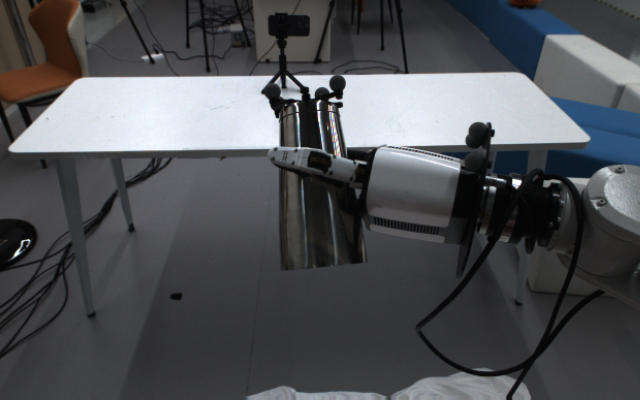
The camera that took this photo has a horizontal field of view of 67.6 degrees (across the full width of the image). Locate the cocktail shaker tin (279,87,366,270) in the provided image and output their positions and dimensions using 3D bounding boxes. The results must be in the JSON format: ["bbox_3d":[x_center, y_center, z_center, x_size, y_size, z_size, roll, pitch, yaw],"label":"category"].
[{"bbox_3d":[-0.003,-0.013,0.518,0.093,0.170,0.093,-6,-7,-1],"label":"cocktail shaker tin"}]
